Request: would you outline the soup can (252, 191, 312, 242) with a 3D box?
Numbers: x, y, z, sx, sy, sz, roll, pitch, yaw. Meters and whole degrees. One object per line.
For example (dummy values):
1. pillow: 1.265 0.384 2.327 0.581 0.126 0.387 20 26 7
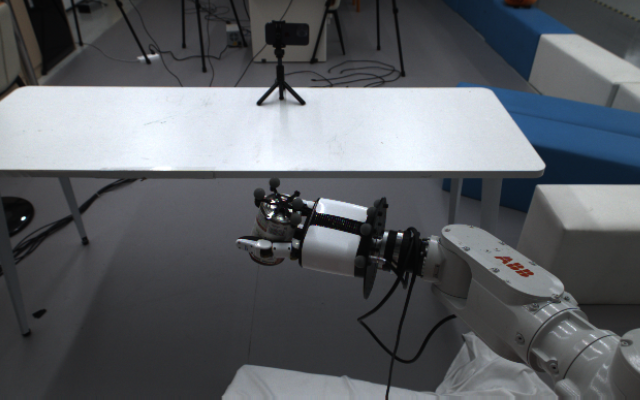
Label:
1. soup can: -0.074 0.049 0.773 0.067 0.101 0.067 14 40 -12
